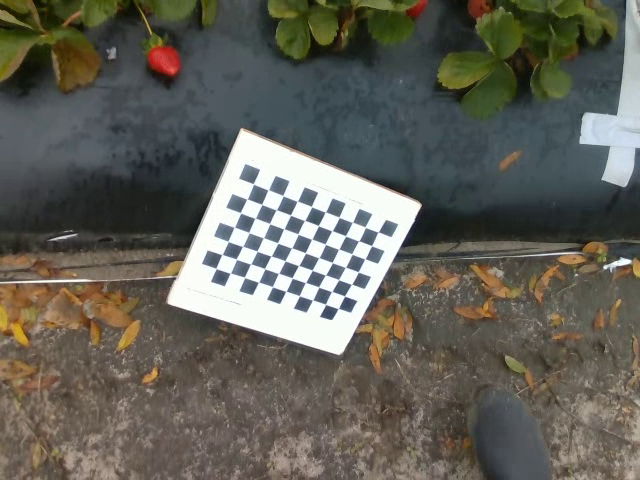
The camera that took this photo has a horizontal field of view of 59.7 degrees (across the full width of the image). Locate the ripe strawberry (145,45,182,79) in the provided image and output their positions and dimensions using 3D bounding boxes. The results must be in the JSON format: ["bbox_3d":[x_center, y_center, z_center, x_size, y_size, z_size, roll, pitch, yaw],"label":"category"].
[{"bbox_3d":[-0.211,-0.240,0.731,0.045,0.054,0.048,-28,-21,3],"label":"ripe strawberry"}]
